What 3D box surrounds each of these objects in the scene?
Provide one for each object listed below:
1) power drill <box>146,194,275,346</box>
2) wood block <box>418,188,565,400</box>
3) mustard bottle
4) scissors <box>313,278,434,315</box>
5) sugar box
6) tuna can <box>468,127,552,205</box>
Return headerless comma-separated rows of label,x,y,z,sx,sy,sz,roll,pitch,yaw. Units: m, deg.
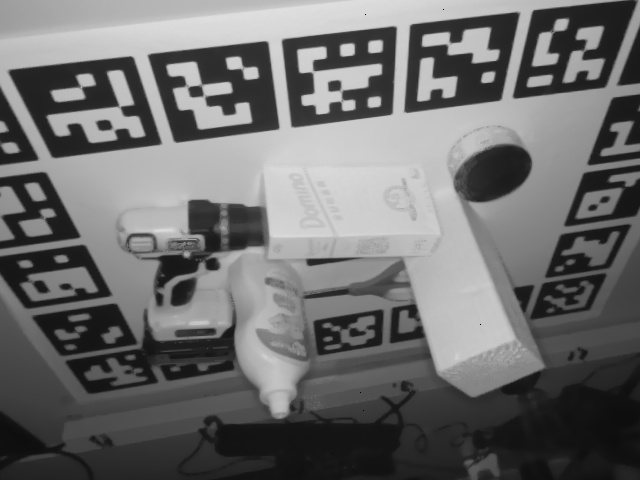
power drill,-0.099,0.034,0.767,0.186,0.057,0.185,2,127,-15
wood block,0.175,0.055,0.757,0.090,0.207,0.090,-28,132,16
mustard bottle,-0.042,0.105,0.767,0.058,0.192,0.097,-37,129,24
scissors,0.088,0.074,0.879,0.204,0.016,0.087,-6,139,-7
sugar box,0.041,-0.033,0.708,0.178,0.093,0.045,2,137,-12
tuna can,0.202,-0.077,0.735,0.086,0.034,0.085,-6,135,-5
